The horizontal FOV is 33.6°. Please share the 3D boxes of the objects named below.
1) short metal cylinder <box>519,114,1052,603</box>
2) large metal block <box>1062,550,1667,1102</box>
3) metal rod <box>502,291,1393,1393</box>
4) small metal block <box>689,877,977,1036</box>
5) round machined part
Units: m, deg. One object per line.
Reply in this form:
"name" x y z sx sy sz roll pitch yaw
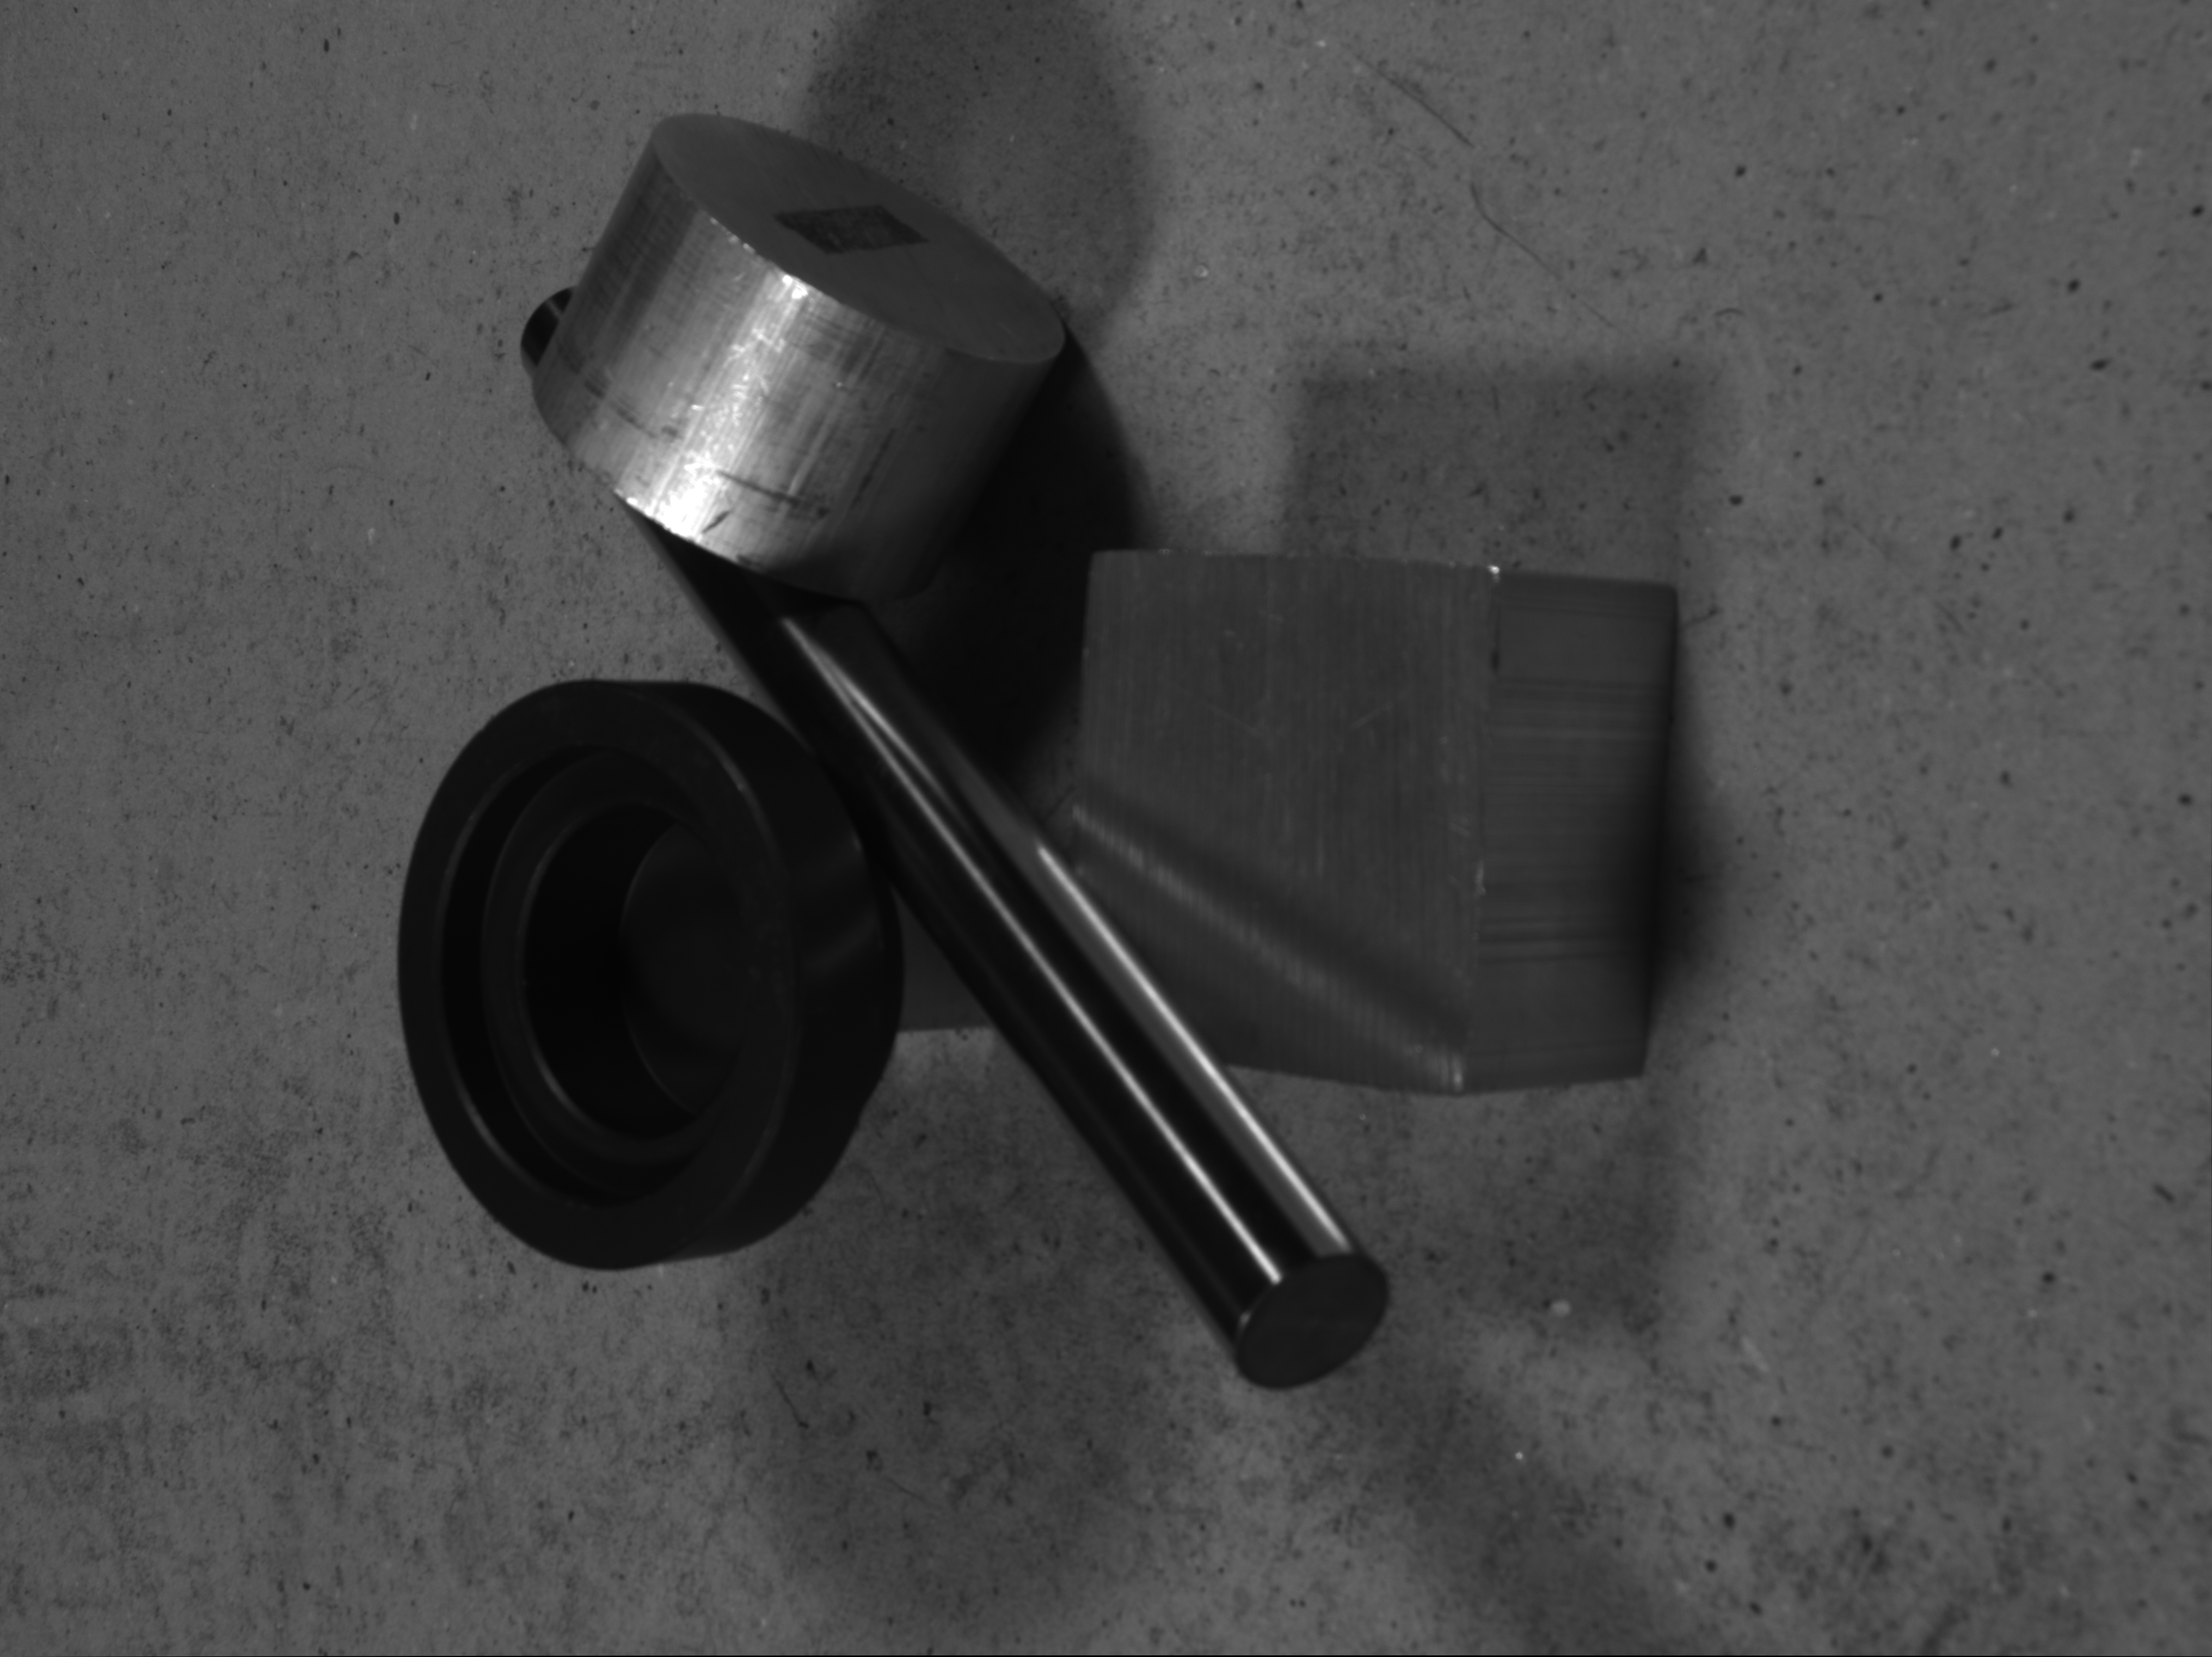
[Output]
"short metal cylinder" -0.057 -0.083 0.648 0.080 0.080 0.050 45 116 30
"large metal block" 0.040 -0.002 0.588 0.080 0.050 0.080 6 93 39
"metal rod" -0.039 -0.013 0.620 0.299 0.025 0.025 50 120 44
"small metal block" -0.049 0.012 0.661 0.025 0.050 0.050 -3 88 39
"round machined part" -0.075 0.024 0.623 0.098 0.042 0.098 1 92 39
